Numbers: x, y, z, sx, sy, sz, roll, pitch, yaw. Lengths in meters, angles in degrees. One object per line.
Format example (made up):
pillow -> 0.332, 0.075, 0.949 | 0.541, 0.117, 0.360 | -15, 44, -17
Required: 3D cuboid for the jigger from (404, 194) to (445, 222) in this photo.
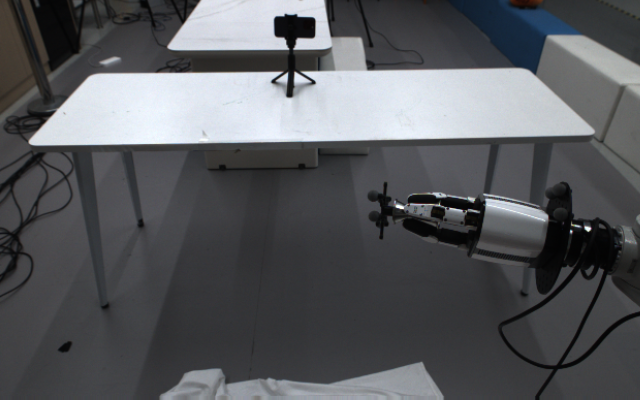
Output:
jigger -> 0.154, 0.015, 0.732 | 0.071, 0.043, 0.043 | 3, 34, 18
